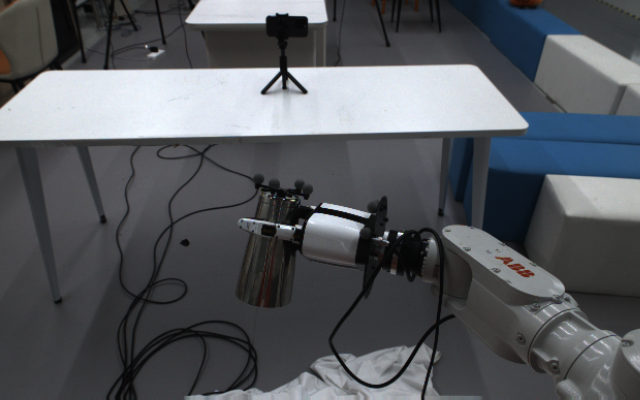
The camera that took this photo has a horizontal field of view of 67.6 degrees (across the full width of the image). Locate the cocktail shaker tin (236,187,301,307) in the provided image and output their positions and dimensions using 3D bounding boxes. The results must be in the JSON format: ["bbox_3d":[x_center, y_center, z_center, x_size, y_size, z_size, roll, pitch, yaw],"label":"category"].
[{"bbox_3d":[-0.075,0.072,0.778,0.093,0.170,0.093,10,10,-2],"label":"cocktail shaker tin"}]
